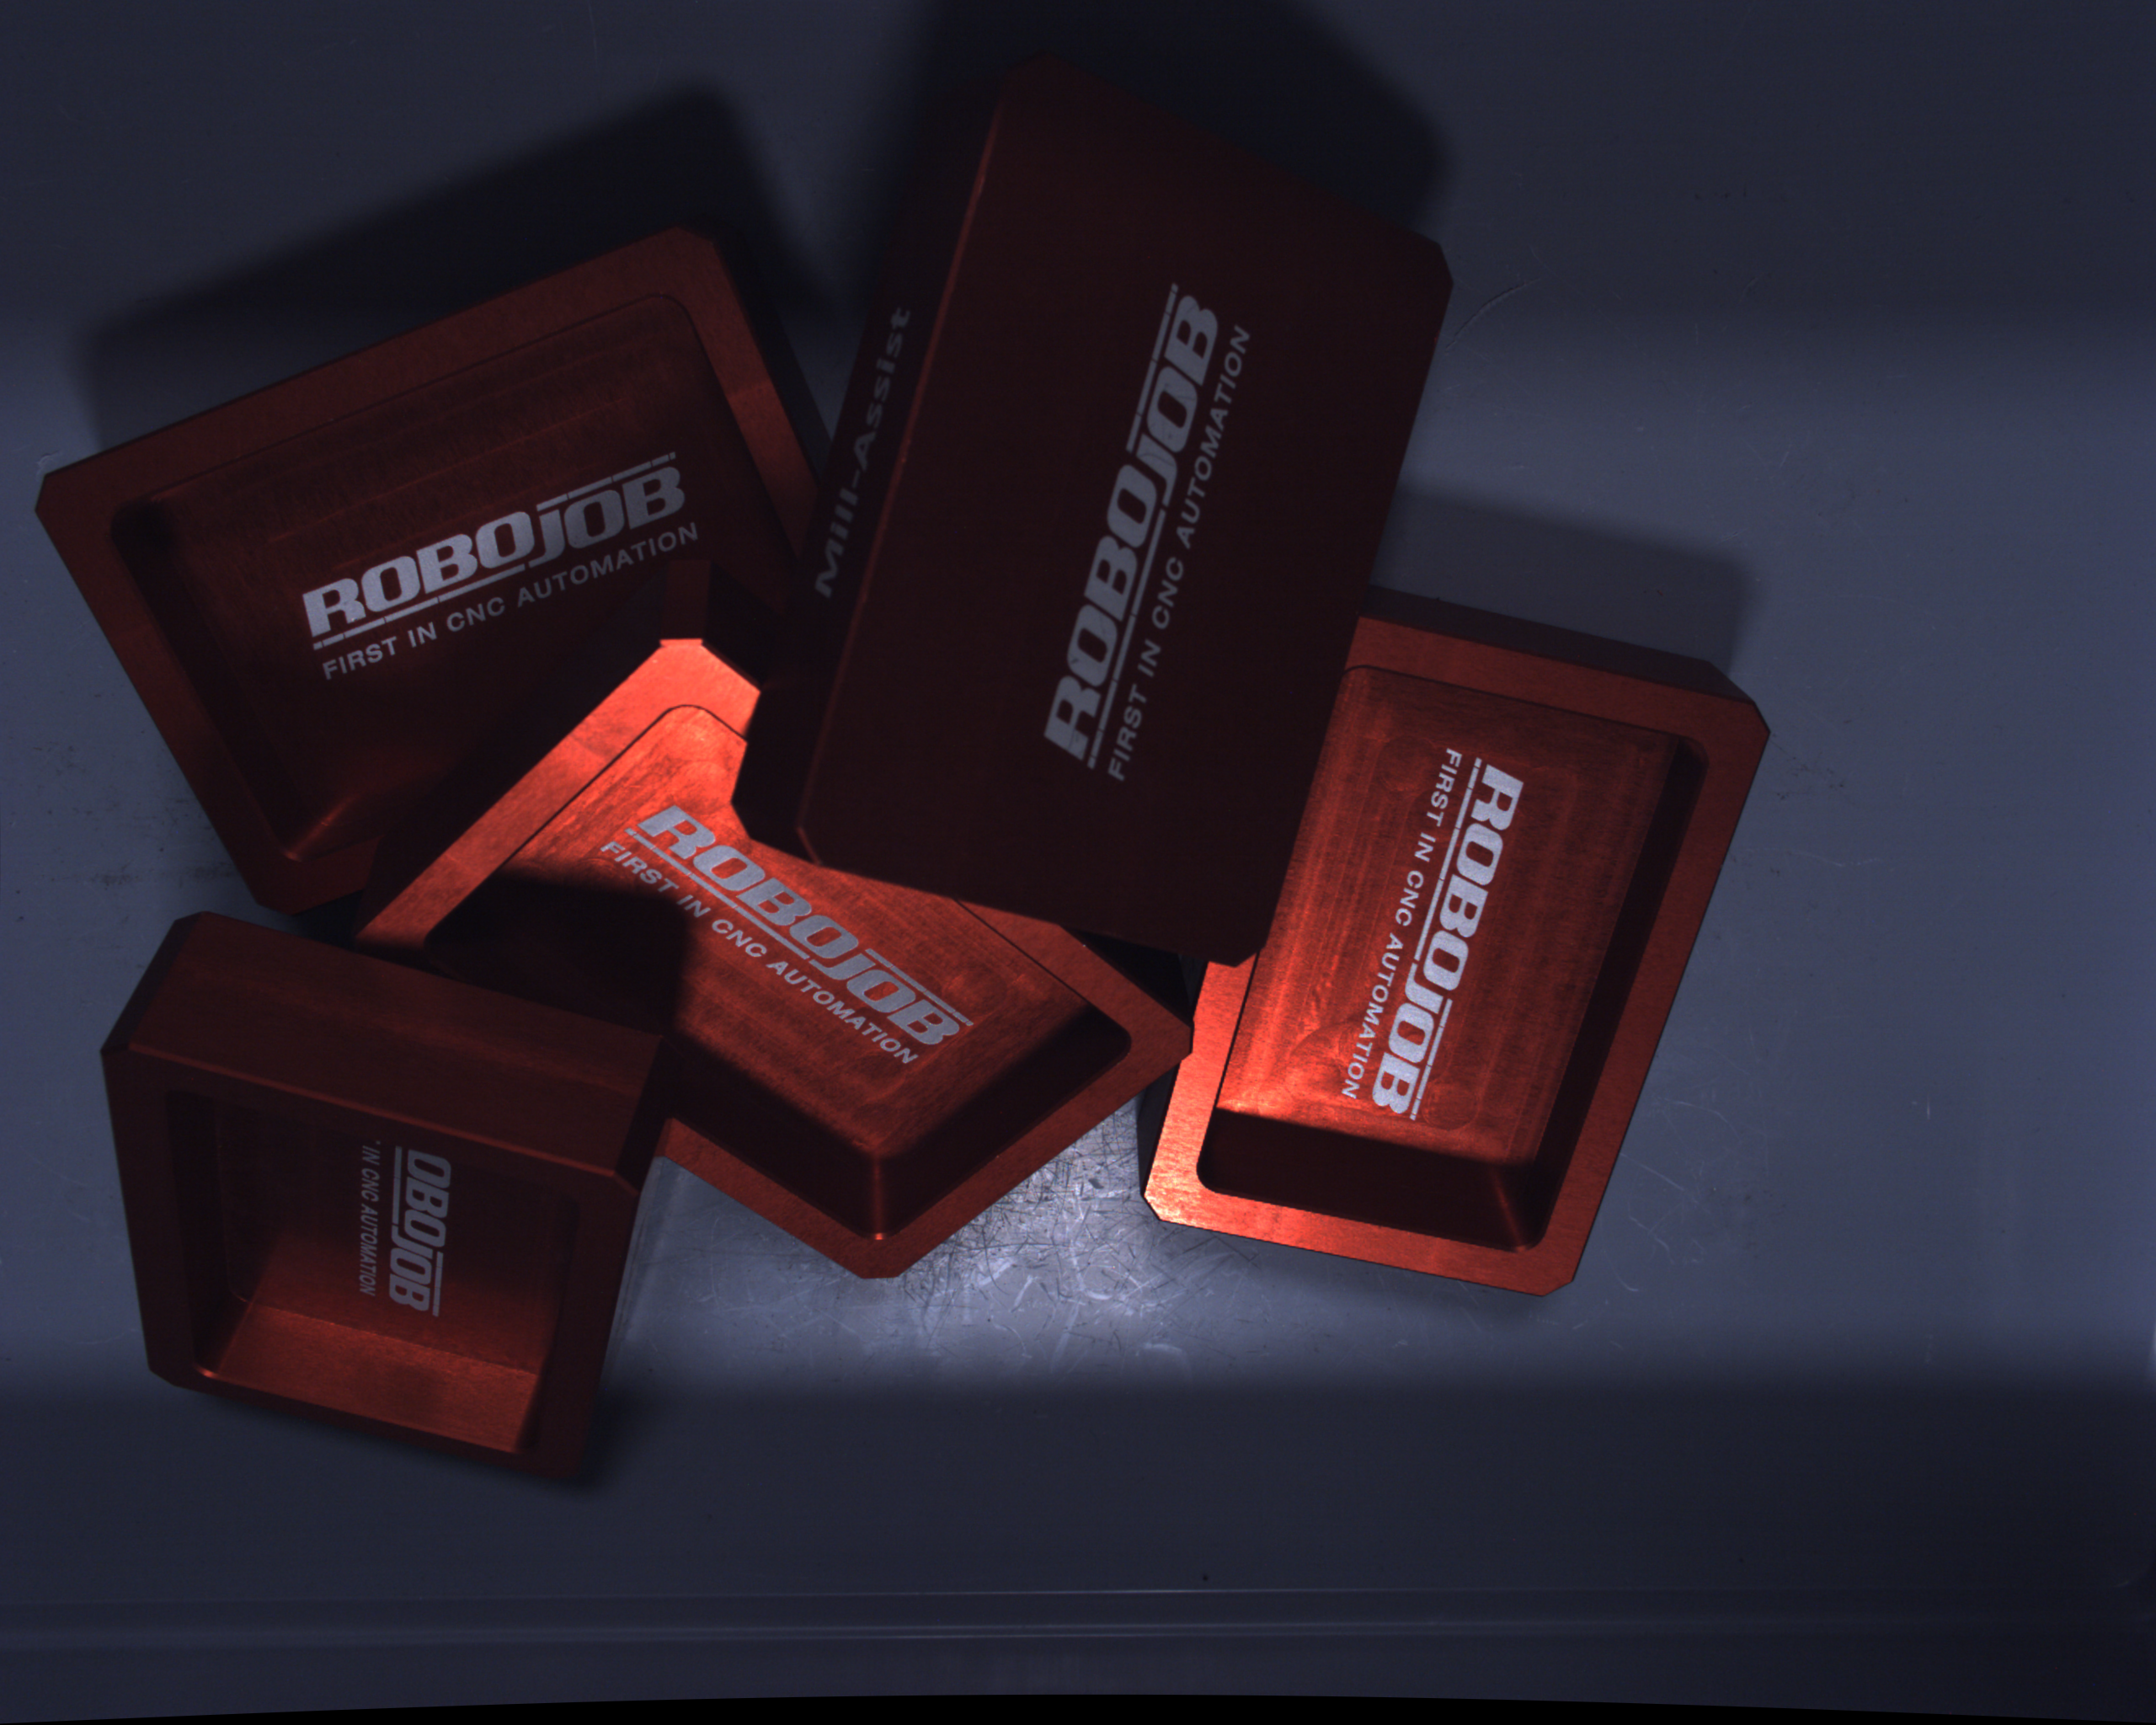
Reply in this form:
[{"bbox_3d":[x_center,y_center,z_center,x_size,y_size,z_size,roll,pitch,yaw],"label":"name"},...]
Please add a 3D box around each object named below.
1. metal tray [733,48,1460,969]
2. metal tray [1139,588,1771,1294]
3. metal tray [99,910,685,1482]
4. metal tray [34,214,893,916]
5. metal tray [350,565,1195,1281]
[{"bbox_3d":[0.005,-0.055,0.350,0.091,0.030,0.129,16,91,-30],"label":"metal tray"},{"bbox_3d":[0.070,0.016,0.414,0.091,0.030,0.129,12,110,-5],"label":"metal tray"},{"bbox_3d":[-0.131,0.070,0.400,0.091,0.030,0.129,16,138,-6],"label":"metal tray"},{"bbox_3d":[-0.108,-0.054,0.385,0.131,0.030,0.090,-19,109,6],"label":"metal tray"},{"bbox_3d":[-0.053,0.017,0.389,0.090,0.030,0.130,-40,121,20],"label":"metal tray"}]
